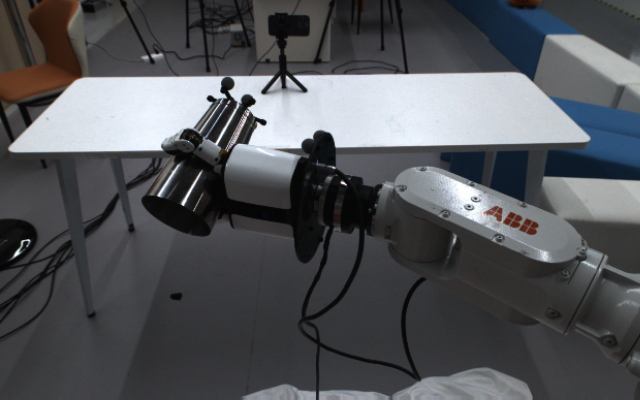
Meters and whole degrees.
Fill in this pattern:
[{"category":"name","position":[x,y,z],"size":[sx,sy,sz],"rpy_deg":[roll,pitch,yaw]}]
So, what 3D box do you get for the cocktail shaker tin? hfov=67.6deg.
[{"category":"cocktail shaker tin","position":[-0.148,-0.047,0.628],"size":[0.093,0.093,0.170],"rpy_deg":[14,61,17]}]
